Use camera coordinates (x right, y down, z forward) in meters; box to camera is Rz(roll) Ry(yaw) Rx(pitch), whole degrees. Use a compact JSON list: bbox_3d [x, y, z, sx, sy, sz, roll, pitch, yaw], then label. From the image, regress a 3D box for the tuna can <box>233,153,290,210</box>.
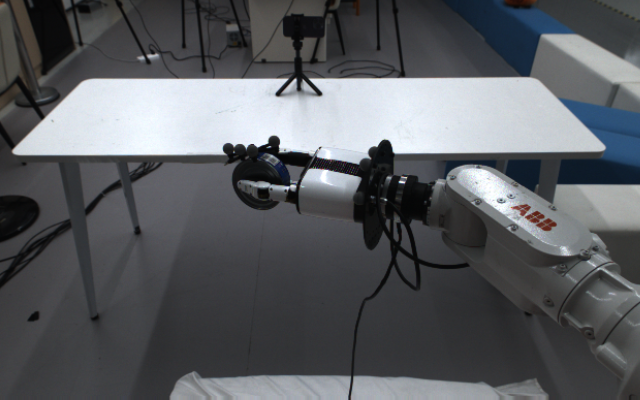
[{"bbox_3d":[-0.085,-0.029,0.745,0.085,0.085,0.034,13,28,15],"label":"tuna can"}]
